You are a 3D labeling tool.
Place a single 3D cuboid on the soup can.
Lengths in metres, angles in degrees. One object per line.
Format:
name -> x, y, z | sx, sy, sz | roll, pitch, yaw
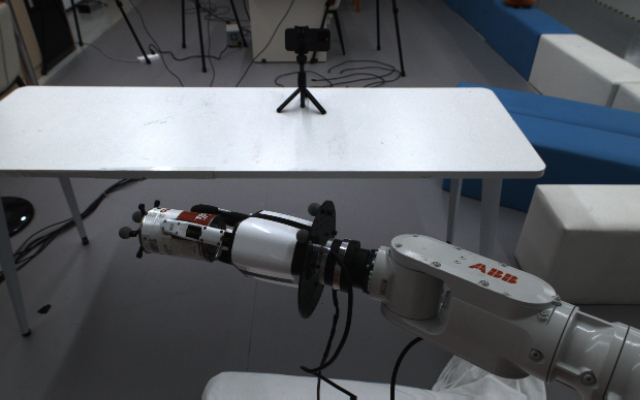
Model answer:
soup can -> -0.192, 0.050, 0.688 | 0.101, 0.067, 0.067 | 6, 35, 11
